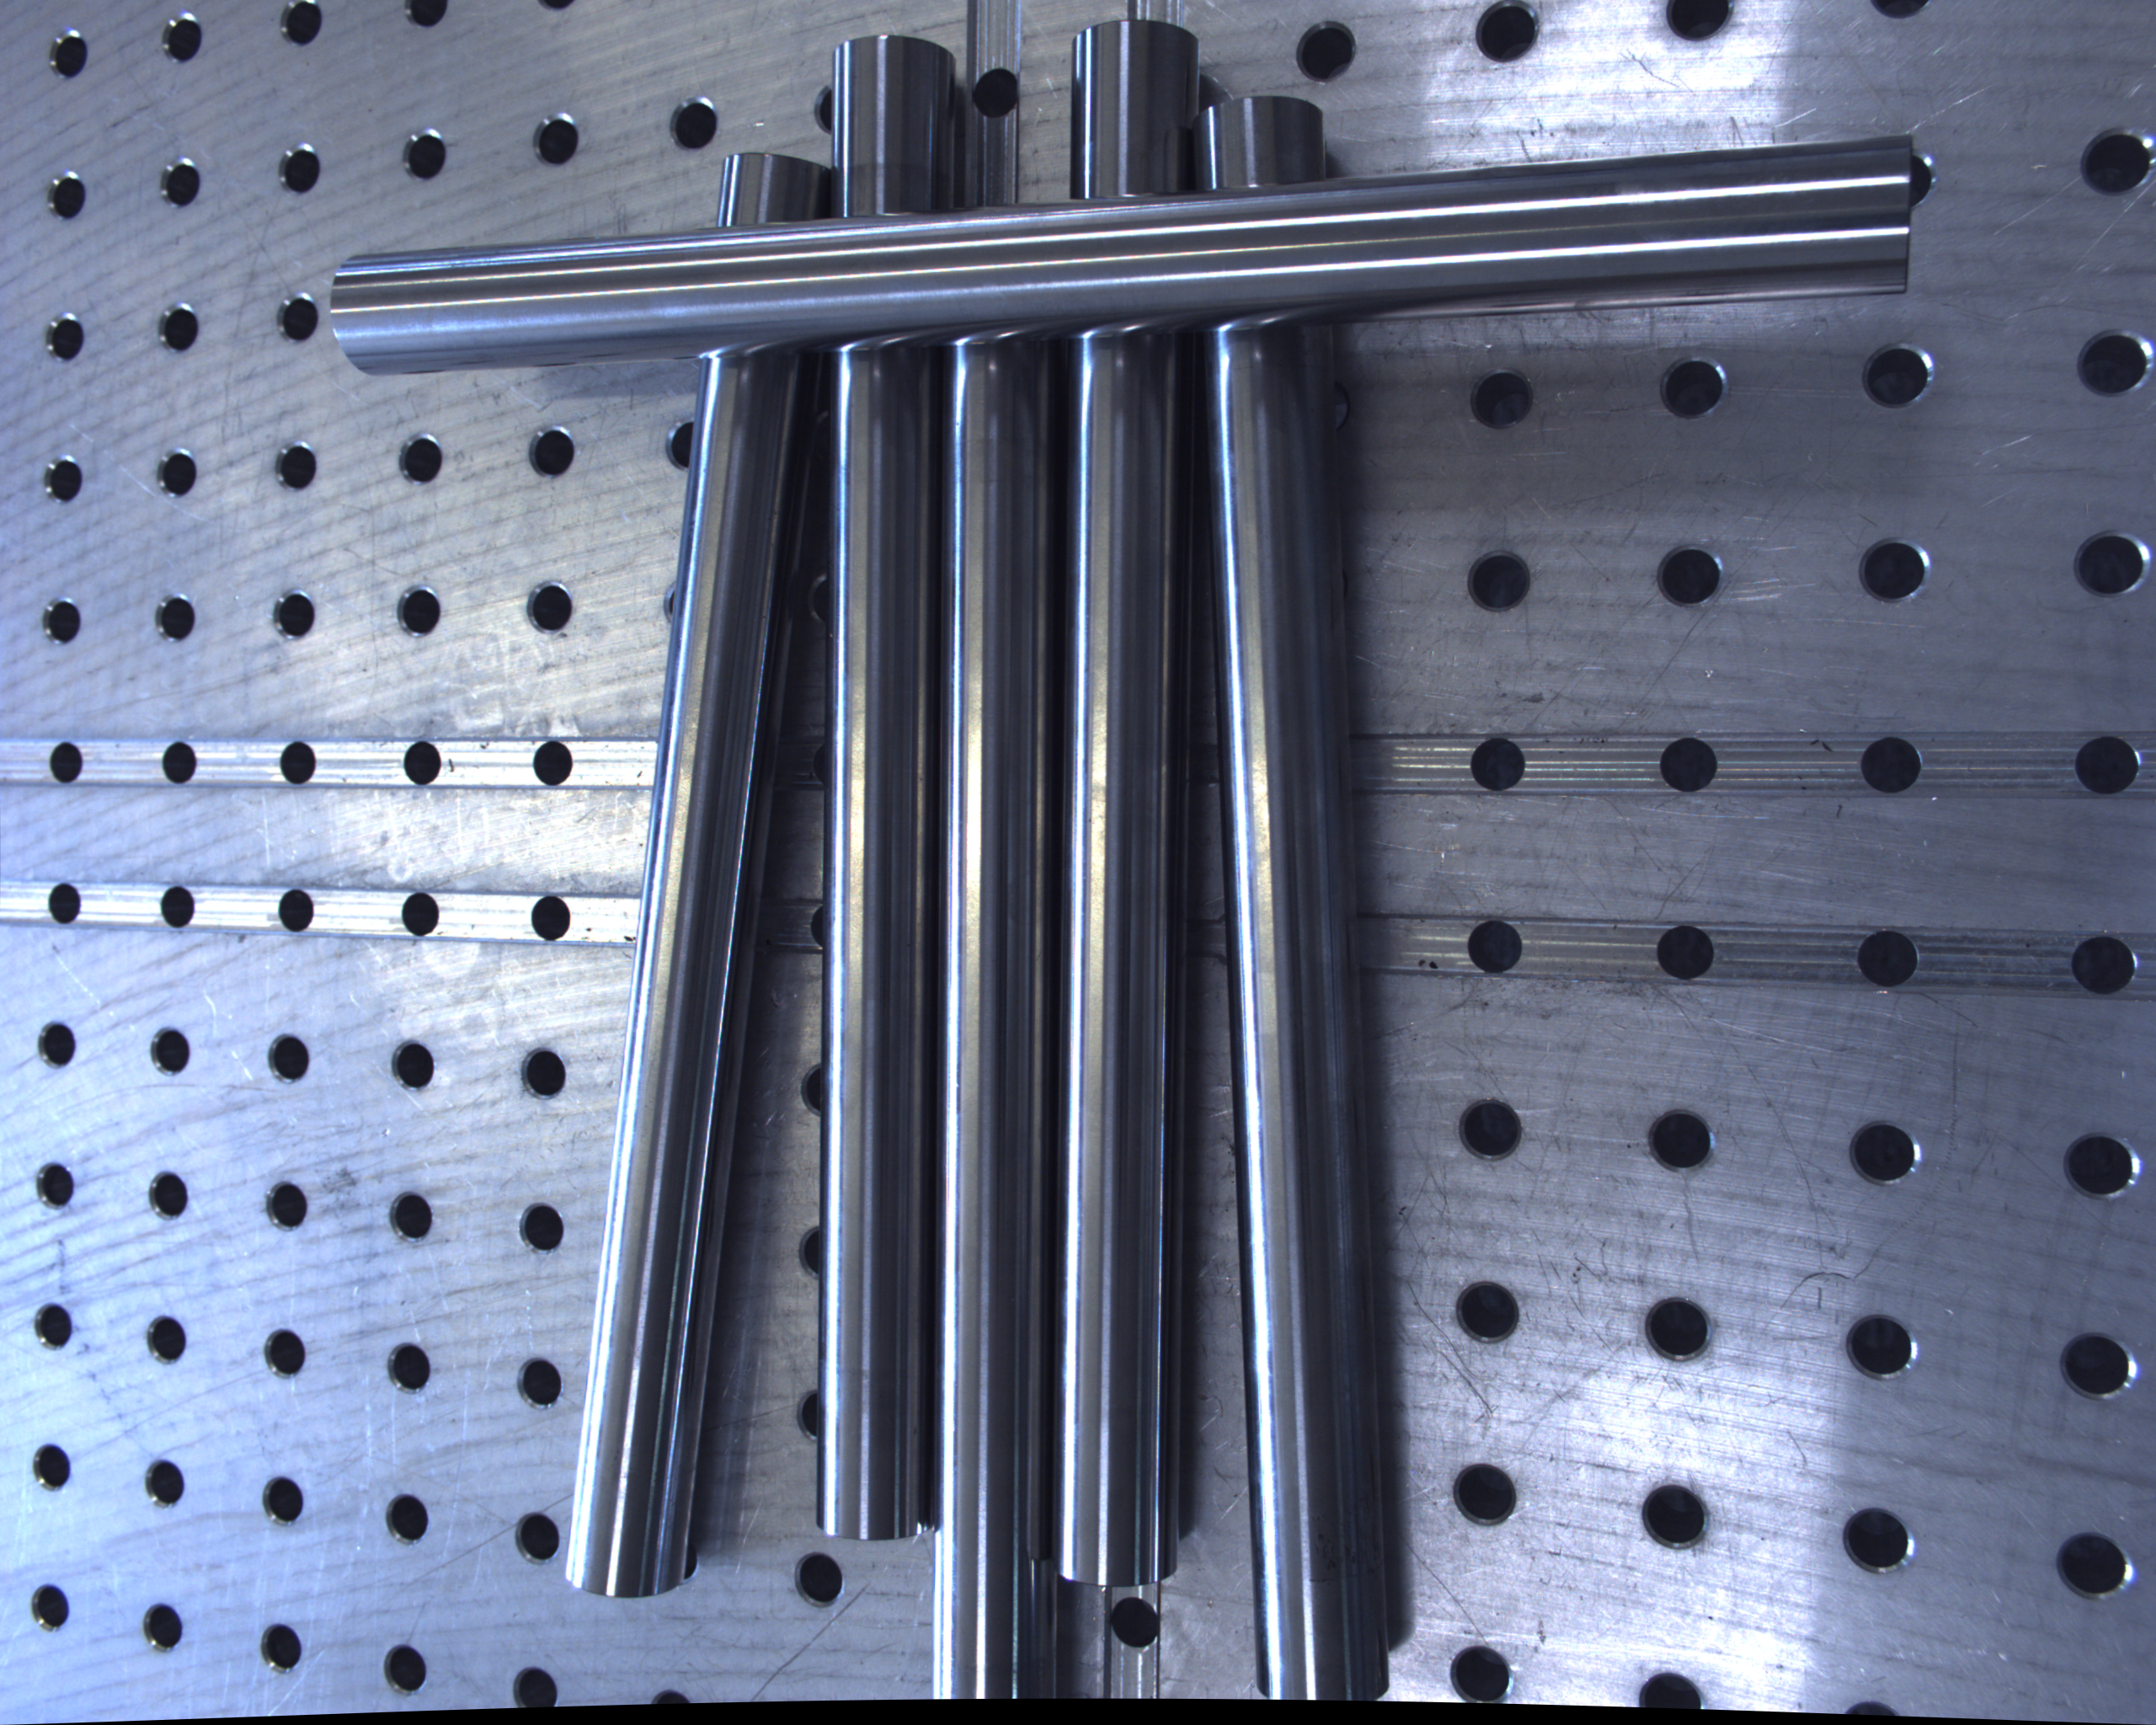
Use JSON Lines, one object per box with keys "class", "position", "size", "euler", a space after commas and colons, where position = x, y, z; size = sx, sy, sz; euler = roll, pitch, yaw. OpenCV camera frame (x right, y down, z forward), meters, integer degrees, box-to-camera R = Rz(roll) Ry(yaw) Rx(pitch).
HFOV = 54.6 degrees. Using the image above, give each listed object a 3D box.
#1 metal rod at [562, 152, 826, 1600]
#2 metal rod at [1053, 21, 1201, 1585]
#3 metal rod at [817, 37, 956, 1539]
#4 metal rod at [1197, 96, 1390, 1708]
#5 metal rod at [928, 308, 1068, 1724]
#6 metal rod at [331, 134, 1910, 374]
{"class": "metal rod", "position": [-0.079, 0.004, 0.440], "size": [0.025, 0.025, 0.298], "euler": [8, 93, 20]}
{"class": "metal rod", "position": [0.010, -0.011, 0.411], "size": [0.025, 0.025, 0.298], "euler": [1, 90, 20]}
{"class": "metal rod", "position": [-0.039, -0.015, 0.427], "size": [0.025, 0.025, 0.298], "euler": [1, 90, 20]}
{"class": "metal rod", "position": [0.041, 0.007, 0.399], "size": [0.025, 0.025, 0.298], "euler": [-3, 89, 20]}
{"class": "metal rod", "position": [-0.016, 0.041, 0.418], "size": [0.025, 0.025, 0.298], "euler": [1, 91, 20]}
{"class": "metal rod", "position": [-0.007, -0.110, 0.389], "size": [0.301, 0.025, 0.025], "euler": [2, 91, 20]}
